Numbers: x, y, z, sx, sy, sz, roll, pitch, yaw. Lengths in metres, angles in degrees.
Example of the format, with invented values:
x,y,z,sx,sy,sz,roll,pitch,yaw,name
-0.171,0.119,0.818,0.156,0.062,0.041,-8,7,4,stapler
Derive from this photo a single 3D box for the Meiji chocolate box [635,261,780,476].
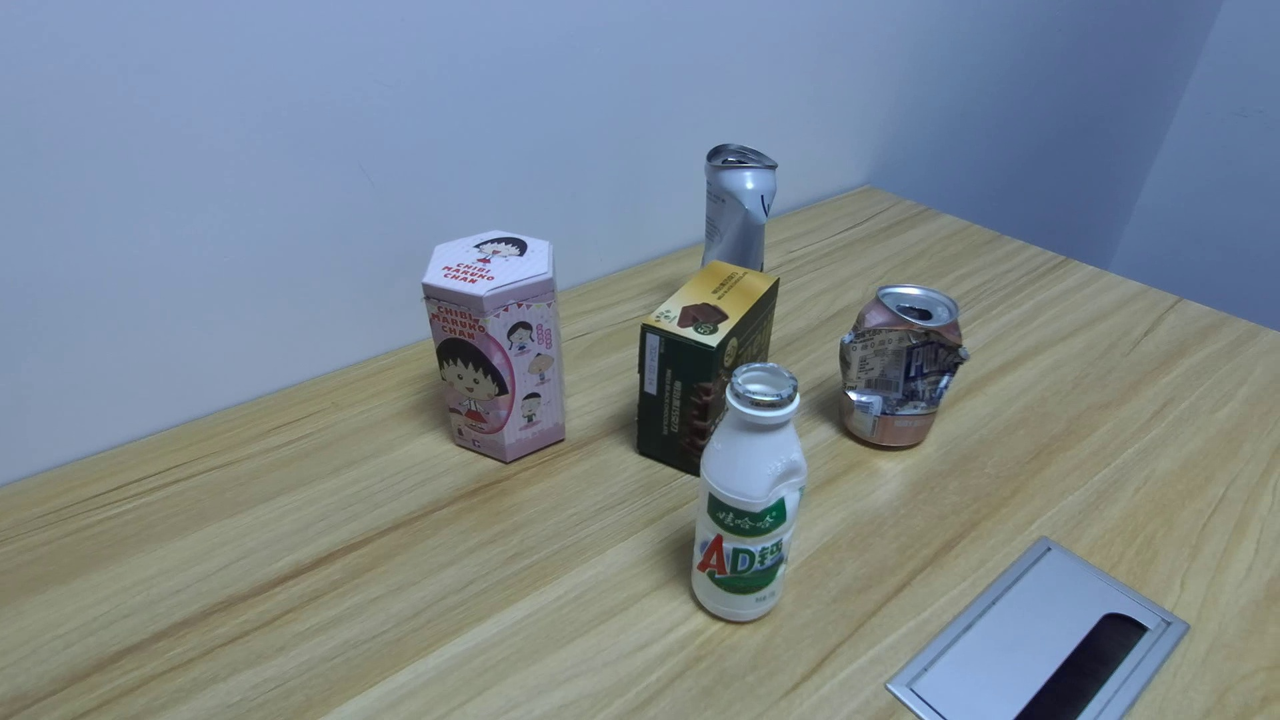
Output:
x,y,z,sx,sy,sz,roll,pitch,yaw,name
0.048,0.003,0.491,0.056,0.109,0.110,20,39,24,Meiji chocolate box

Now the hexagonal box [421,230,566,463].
x,y,z,sx,sy,sz,roll,pitch,yaw,name
-0.095,-0.008,0.485,0.091,0.136,0.084,15,37,20,hexagonal box

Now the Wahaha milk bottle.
x,y,z,sx,sy,sz,roll,pitch,yaw,name
0.056,0.075,0.365,0.053,0.137,0.053,1,34,-1,Wahaha milk bottle

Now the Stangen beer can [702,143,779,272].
x,y,z,sx,sy,sz,roll,pitch,yaw,name
0.076,-0.089,0.578,0.077,0.162,0.066,24,43,28,Stangen beer can

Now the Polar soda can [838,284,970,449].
x,y,z,sx,sy,sz,roll,pitch,yaw,name
0.185,0.007,0.499,0.070,0.114,0.074,31,43,30,Polar soda can
